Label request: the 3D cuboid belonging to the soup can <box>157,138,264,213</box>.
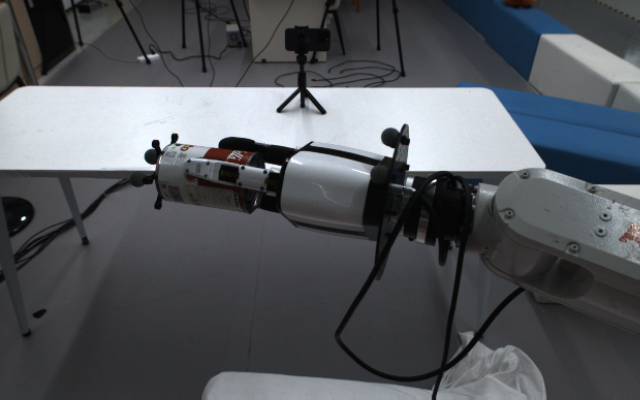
[{"bbox_3d":[-0.117,-0.025,0.535,0.101,0.067,0.067,8,35,11],"label":"soup can"}]
